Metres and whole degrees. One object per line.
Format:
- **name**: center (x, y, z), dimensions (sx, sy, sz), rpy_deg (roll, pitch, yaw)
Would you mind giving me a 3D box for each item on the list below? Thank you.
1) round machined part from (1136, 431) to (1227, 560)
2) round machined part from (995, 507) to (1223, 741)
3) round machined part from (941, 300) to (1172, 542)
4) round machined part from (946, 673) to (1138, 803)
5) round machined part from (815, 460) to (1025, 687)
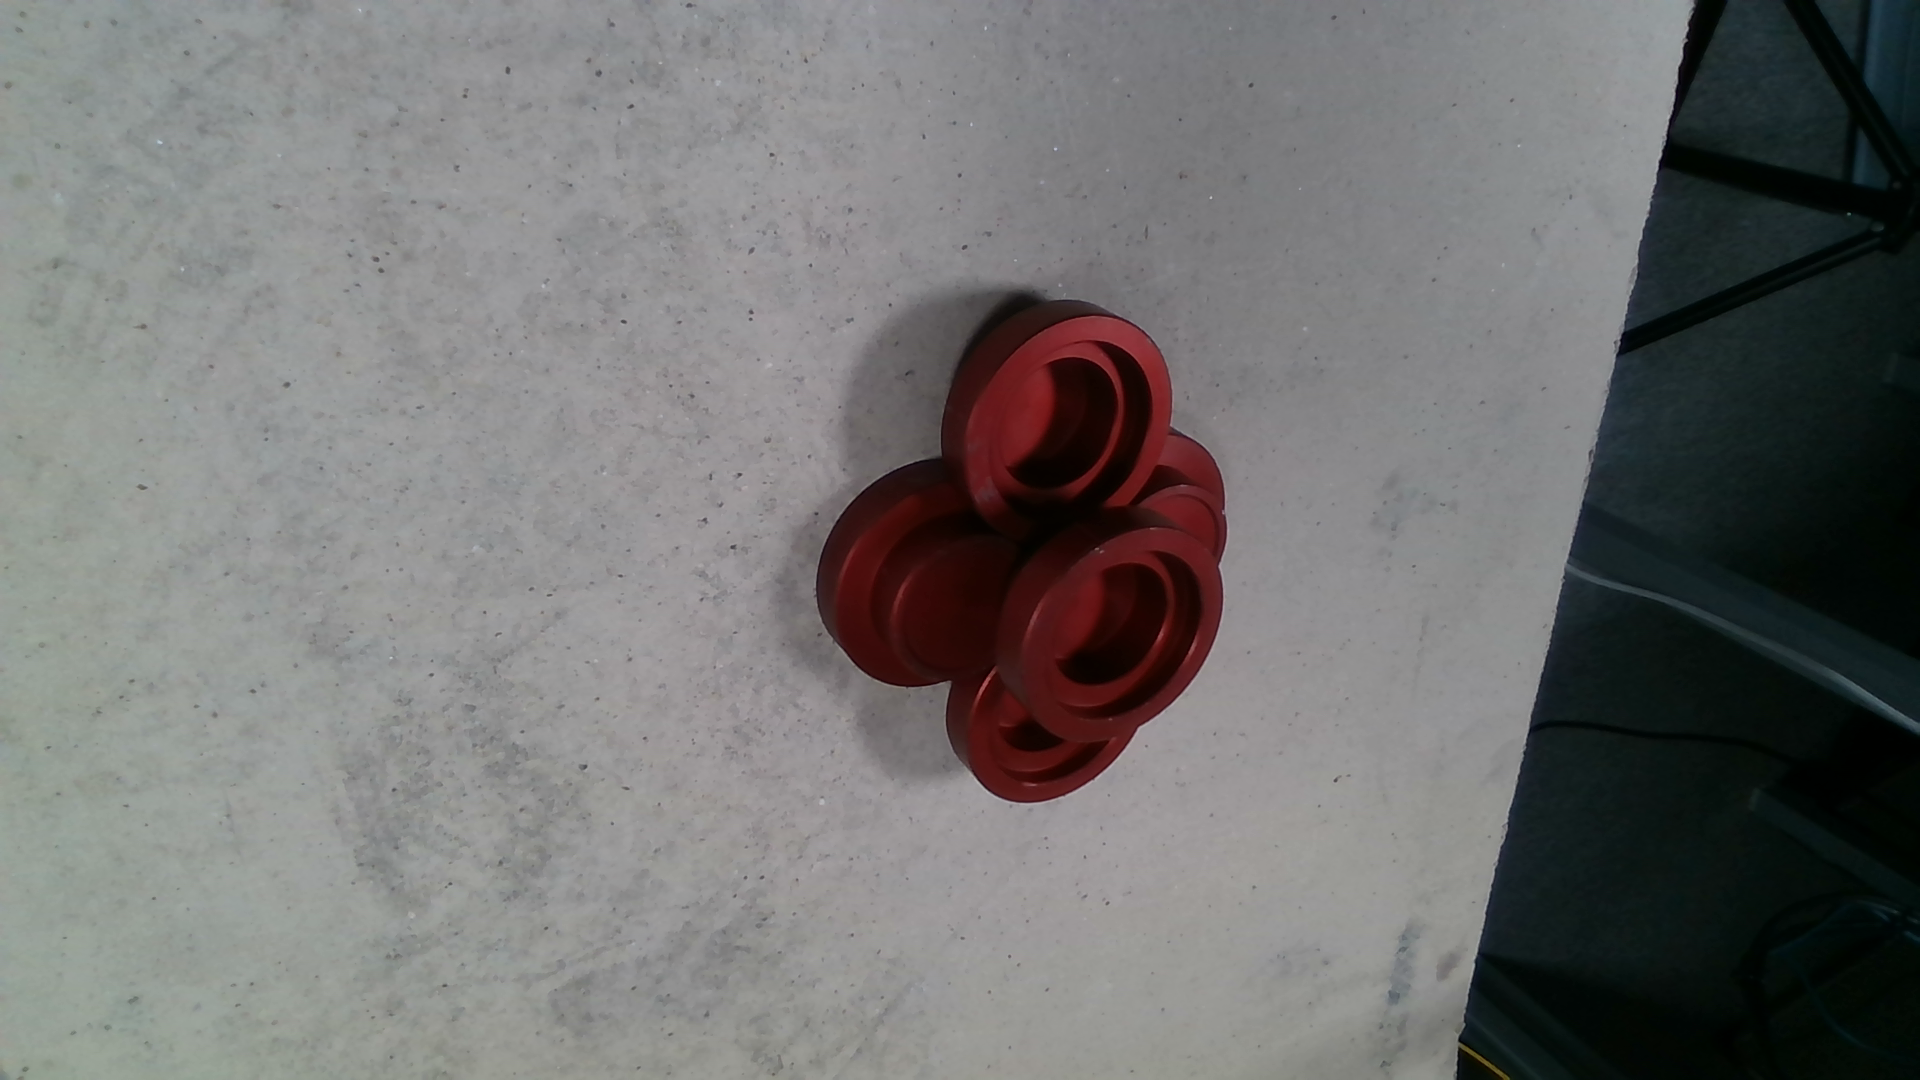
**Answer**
- **round machined part**: center (0.080, -0.003, 0.617), dimensions (0.098, 0.042, 0.098), rpy_deg (-14, 122, -25)
- **round machined part**: center (0.056, 0.030, 0.566), dimensions (0.098, 0.042, 0.098), rpy_deg (-14, 121, -24)
- **round machined part**: center (0.035, -0.052, 0.563), dimensions (0.098, 0.042, 0.098), rpy_deg (-14, 122, -25)
- **round machined part**: center (0.036, 0.068, 0.628), dimensions (0.098, 0.042, 0.098), rpy_deg (-14, 122, -25)
- **round machined part**: center (-0.007, 0.019, 0.576), dimensions (0.098, 0.042, 0.098), rpy_deg (-14, 122, -25)
